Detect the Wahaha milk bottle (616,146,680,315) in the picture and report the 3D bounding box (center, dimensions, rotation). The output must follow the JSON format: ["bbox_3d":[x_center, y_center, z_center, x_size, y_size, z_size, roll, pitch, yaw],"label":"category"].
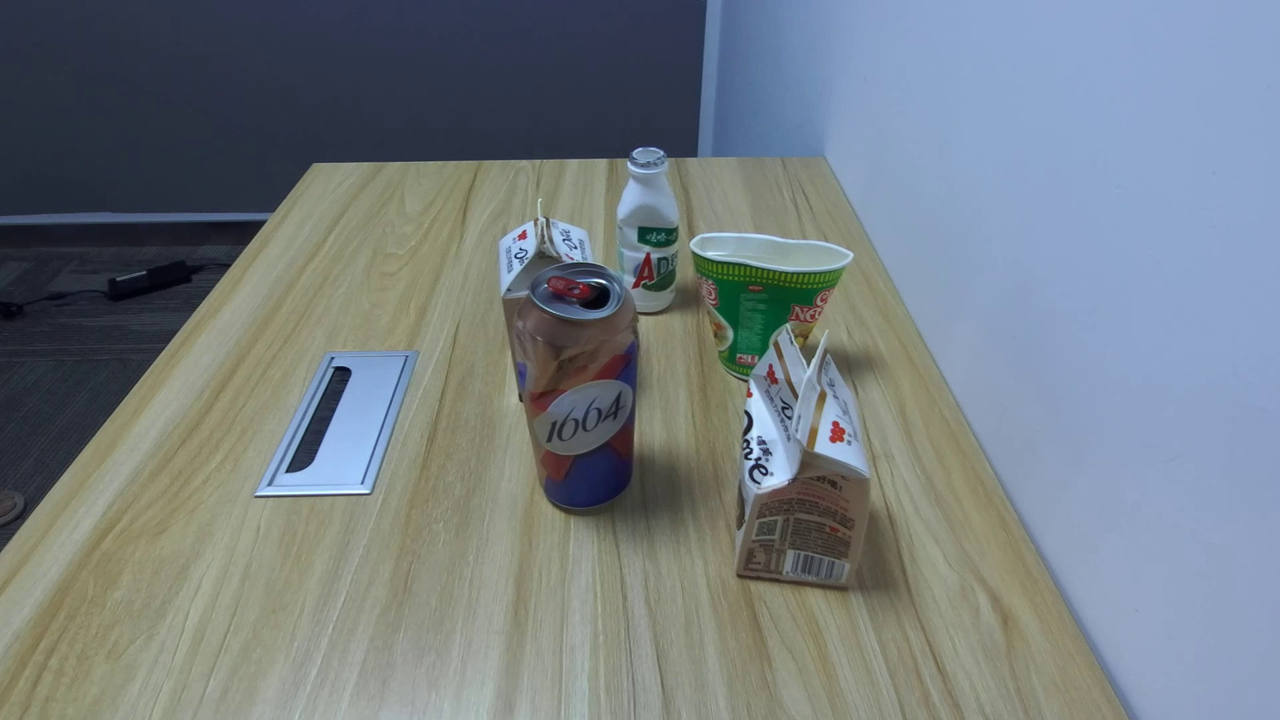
[{"bbox_3d":[0.007,-0.112,0.625,0.056,0.148,0.056,1,41,-1],"label":"Wahaha milk bottle"}]

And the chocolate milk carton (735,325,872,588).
[{"bbox_3d":[0.098,0.057,0.416,0.073,0.156,0.076,3,40,8],"label":"chocolate milk carton"}]

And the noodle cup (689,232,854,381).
[{"bbox_3d":[0.098,-0.044,0.569,0.114,0.111,0.070,22,46,24],"label":"noodle cup"}]

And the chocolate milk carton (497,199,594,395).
[{"bbox_3d":[-0.069,-0.050,0.557,0.074,0.148,0.075,-9,43,-8],"label":"chocolate milk carton"}]

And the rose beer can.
[{"bbox_3d":[-0.037,0.023,0.449,0.076,0.167,0.065,-13,42,-20],"label":"rose beer can"}]
